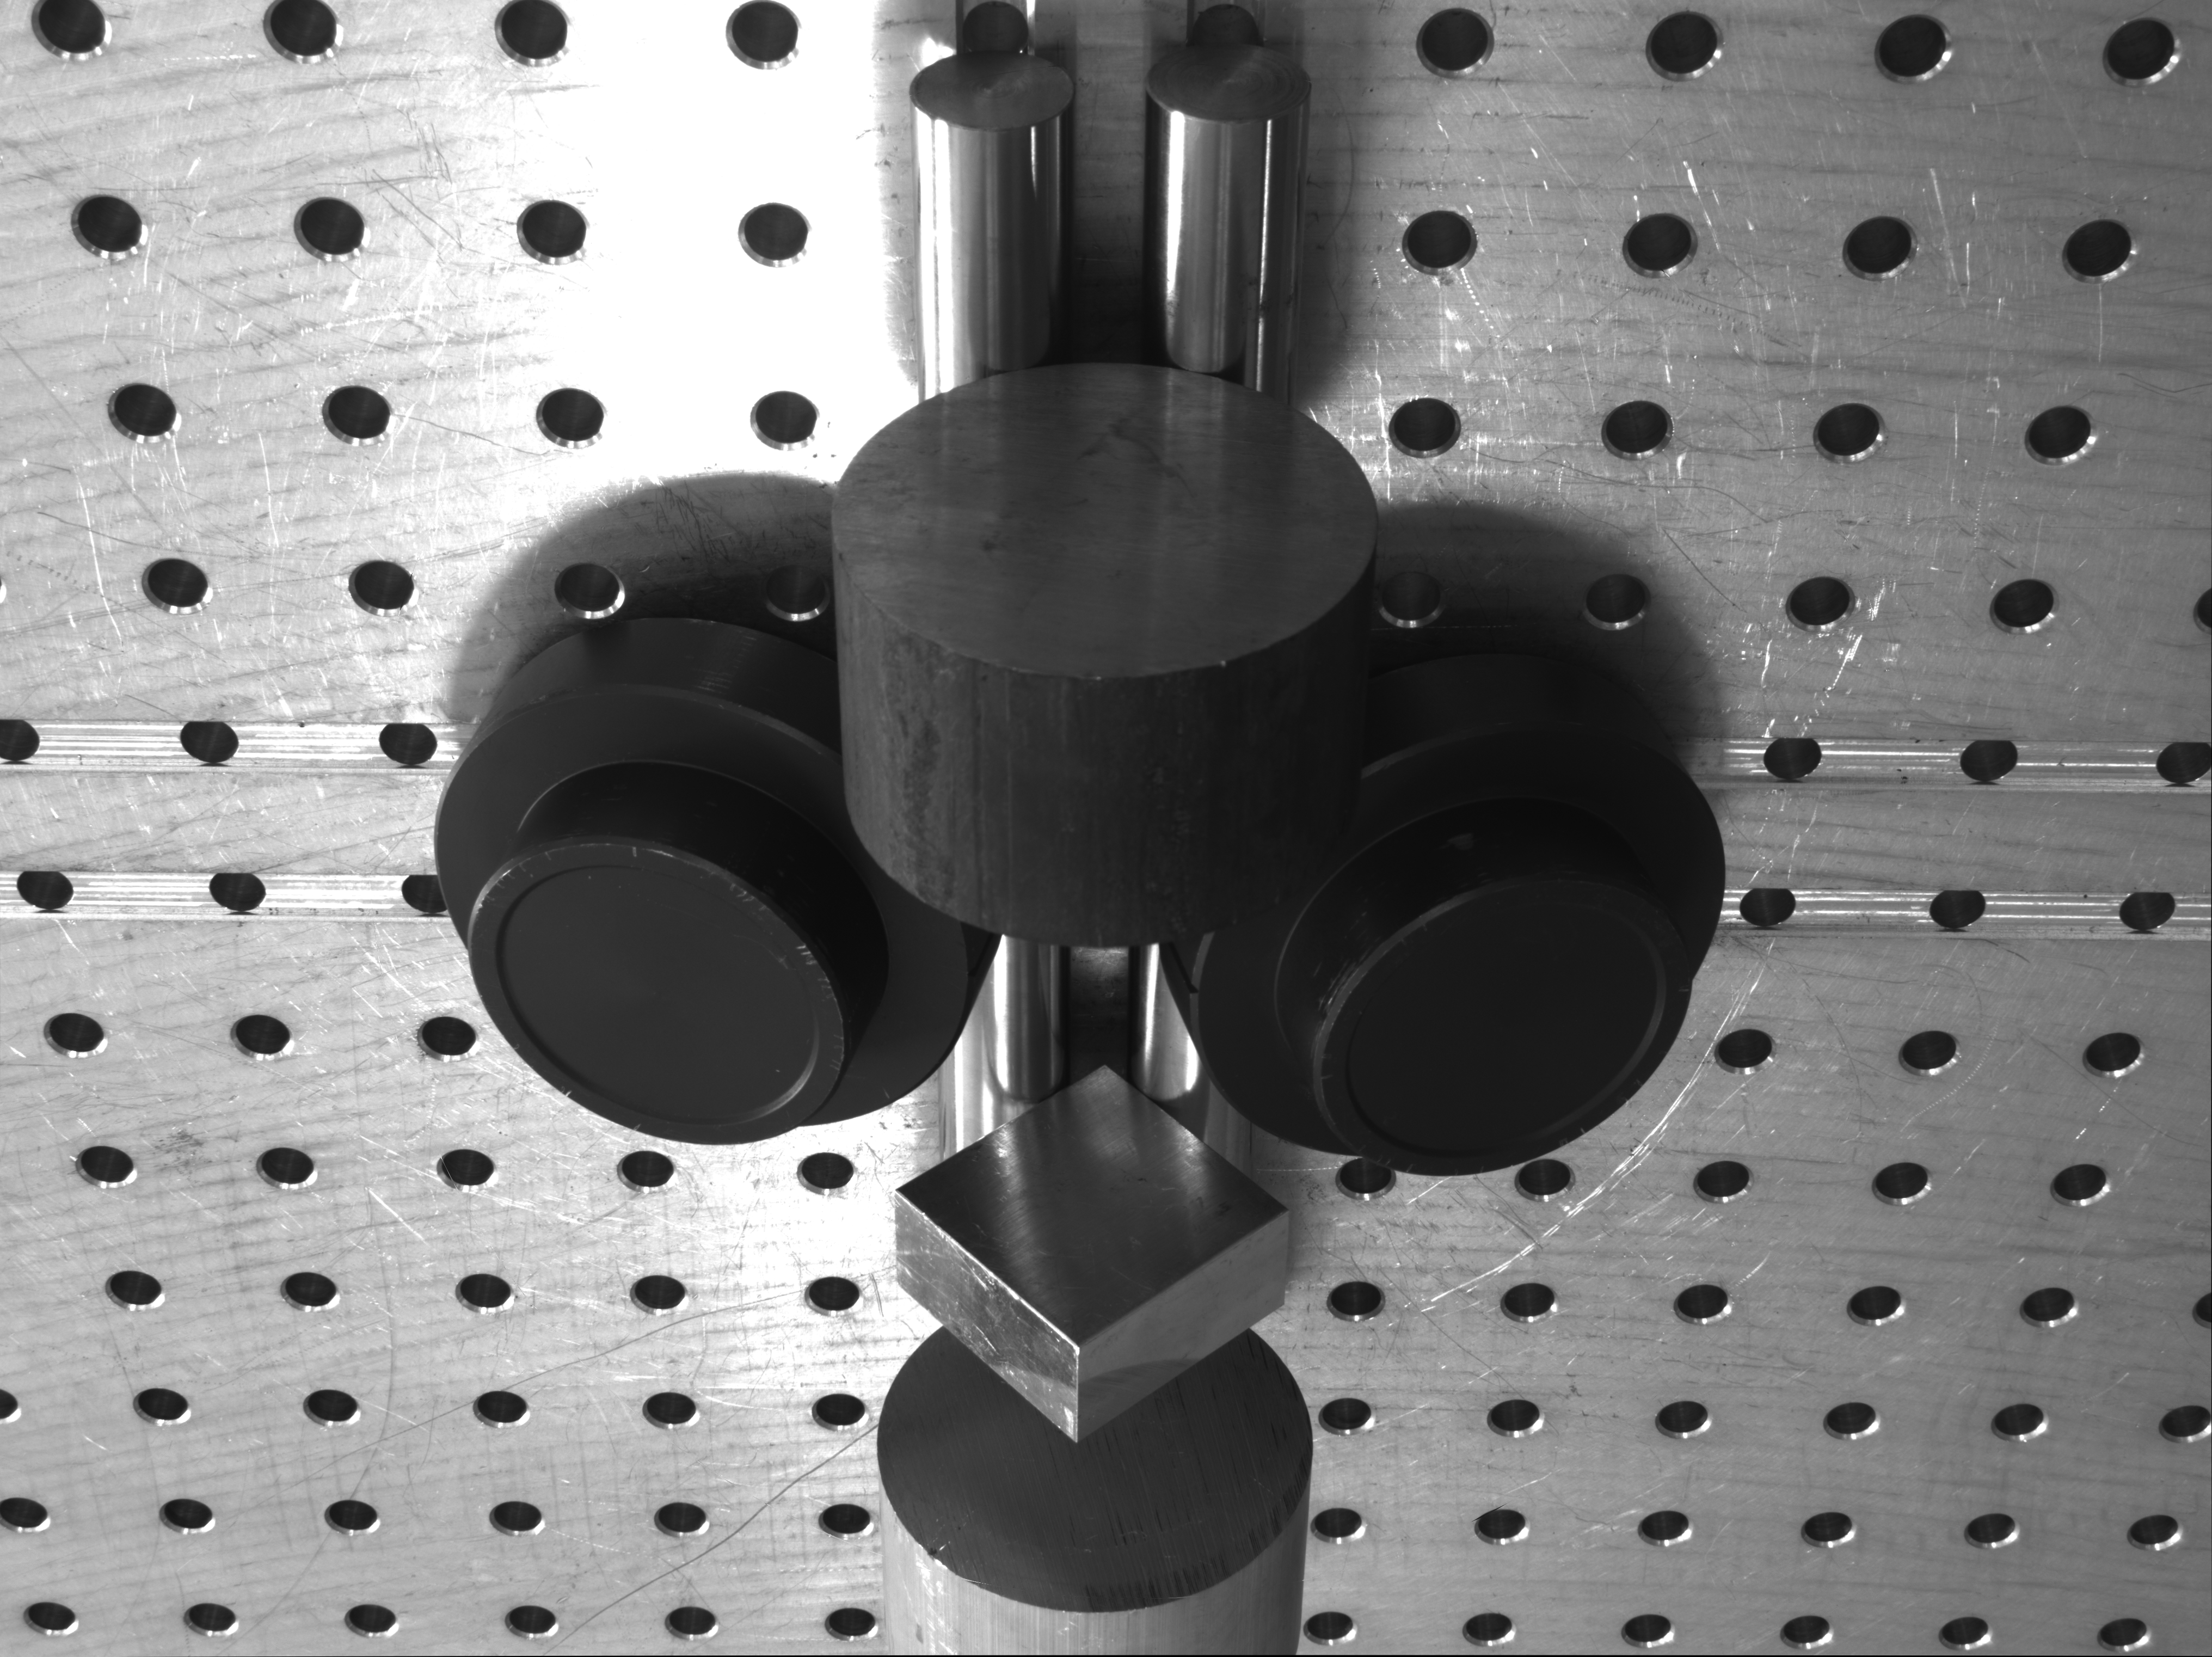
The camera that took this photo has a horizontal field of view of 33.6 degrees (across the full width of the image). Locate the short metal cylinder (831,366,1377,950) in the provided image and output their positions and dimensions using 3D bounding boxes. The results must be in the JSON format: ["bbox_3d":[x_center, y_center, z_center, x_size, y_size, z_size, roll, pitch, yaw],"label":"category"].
[{"bbox_3d":[0.000,-0.027,0.555,0.080,0.080,0.050,1,130,0],"label":"short metal cylinder"}]

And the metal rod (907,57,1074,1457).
[{"bbox_3d":[-0.019,0.006,0.646,0.025,0.025,0.300,0,130,0],"label":"metal rod"}]

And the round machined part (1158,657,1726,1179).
[{"bbox_3d":[0.061,0.022,0.632,0.098,0.042,0.098,-10,131,-11],"label":"round machined part"}]

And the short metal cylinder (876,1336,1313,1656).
[{"bbox_3d":[-0.002,0.131,0.688,0.080,0.080,0.050,1,130,0],"label":"short metal cylinder"}]

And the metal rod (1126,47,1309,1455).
[{"bbox_3d":[0.016,0.004,0.645,0.025,0.025,0.300,0,130,0],"label":"metal rod"}]

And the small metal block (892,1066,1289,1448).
[{"bbox_3d":[-0.003,0.076,0.659,0.050,0.050,0.025,-29,138,-31],"label":"small metal block"}]

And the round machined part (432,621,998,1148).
[{"bbox_3d":[-0.070,0.016,0.628,0.098,0.042,0.098,9,131,11],"label":"round machined part"}]
